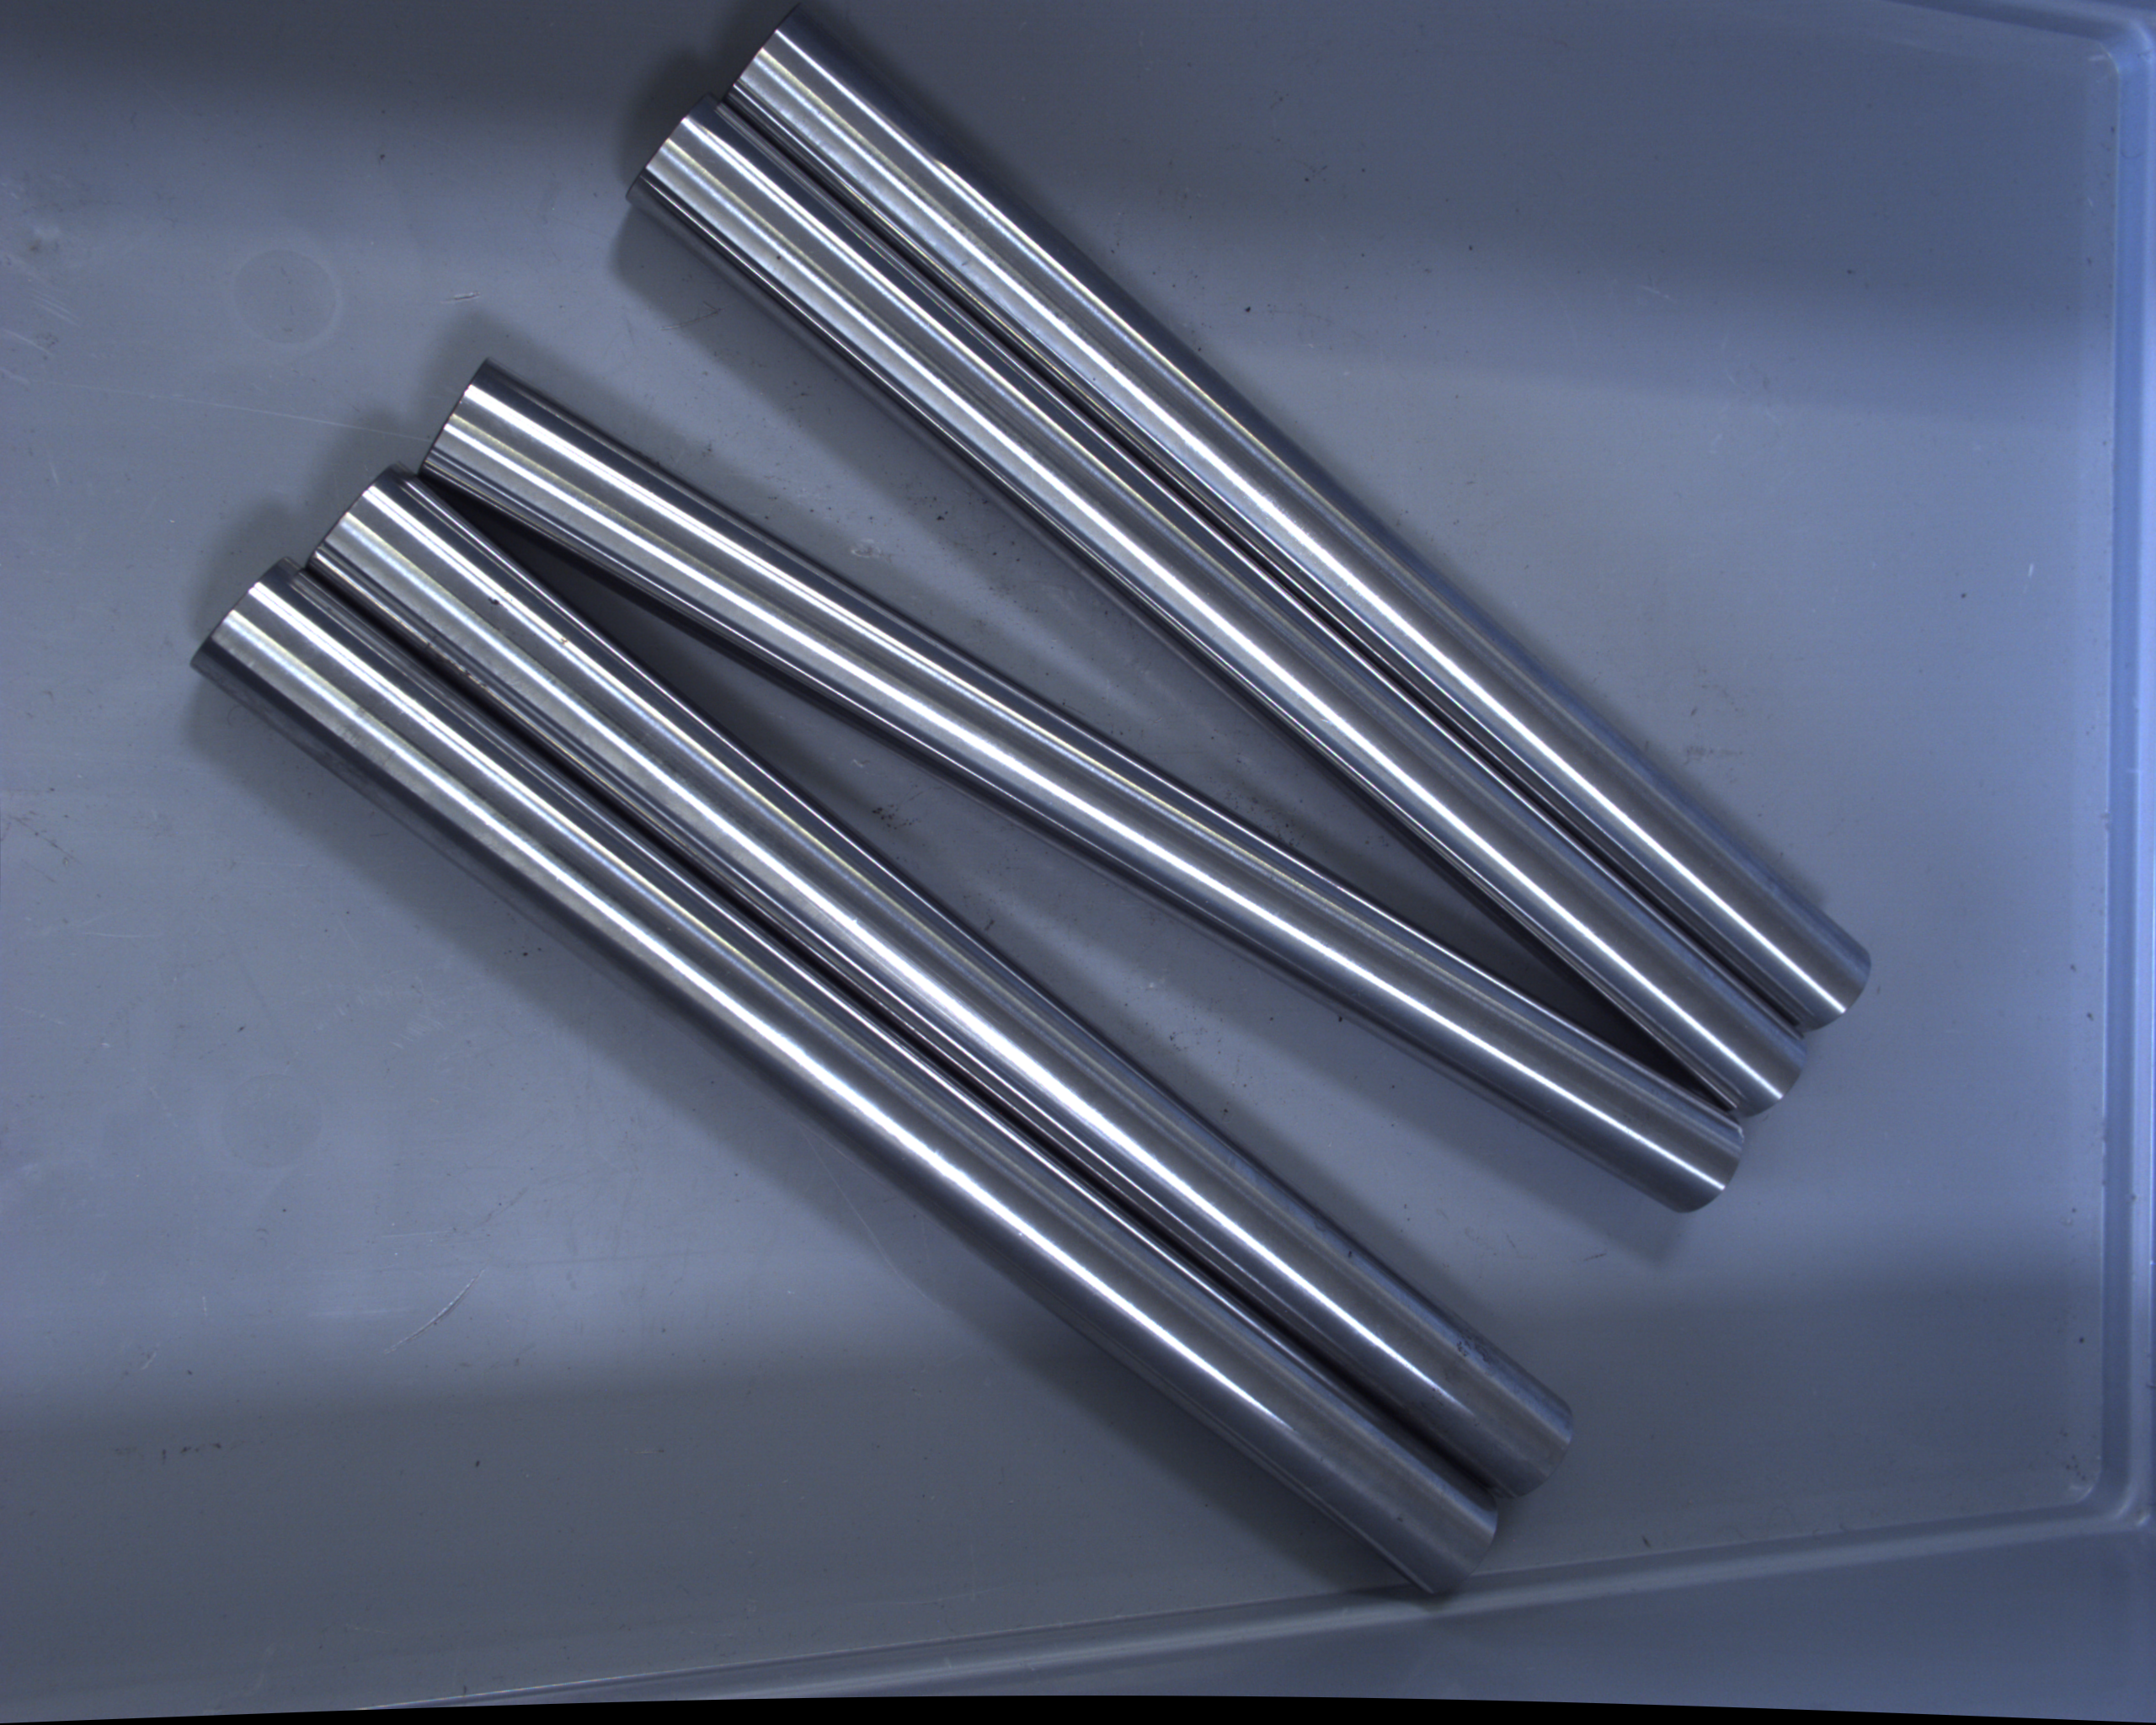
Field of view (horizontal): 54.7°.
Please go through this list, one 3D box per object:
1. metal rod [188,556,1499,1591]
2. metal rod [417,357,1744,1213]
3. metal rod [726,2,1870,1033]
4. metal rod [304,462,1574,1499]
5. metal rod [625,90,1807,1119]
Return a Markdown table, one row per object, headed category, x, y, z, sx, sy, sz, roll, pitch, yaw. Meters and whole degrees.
| category | x | y | z | sx | sy | sz | roll | pitch | yaw |
| --- | --- | --- | --- | --- | --- | --- | --- | --- | --- |
| metal rod | -0.032 | 0.049 | 0.397 | 0.301 | 0.025 | 0.025 | 40 | 78 | -16 |
| metal rod | 0.013 | -0.006 | 0.414 | 0.301 | 0.025 | 0.025 | 30 | 80 | -18 |
| metal rod | 0.055 | -0.061 | 0.429 | 0.301 | 0.025 | 0.025 | 38 | 78 | -16 |
| metal rod | -0.015 | 0.032 | 0.404 | 0.301 | 0.025 | 0.025 | 40 | 78 | -16 |
| metal rod | 0.039 | -0.042 | 0.423 | 0.301 | 0.025 | 0.025 | 38 | 78 | -16 |
